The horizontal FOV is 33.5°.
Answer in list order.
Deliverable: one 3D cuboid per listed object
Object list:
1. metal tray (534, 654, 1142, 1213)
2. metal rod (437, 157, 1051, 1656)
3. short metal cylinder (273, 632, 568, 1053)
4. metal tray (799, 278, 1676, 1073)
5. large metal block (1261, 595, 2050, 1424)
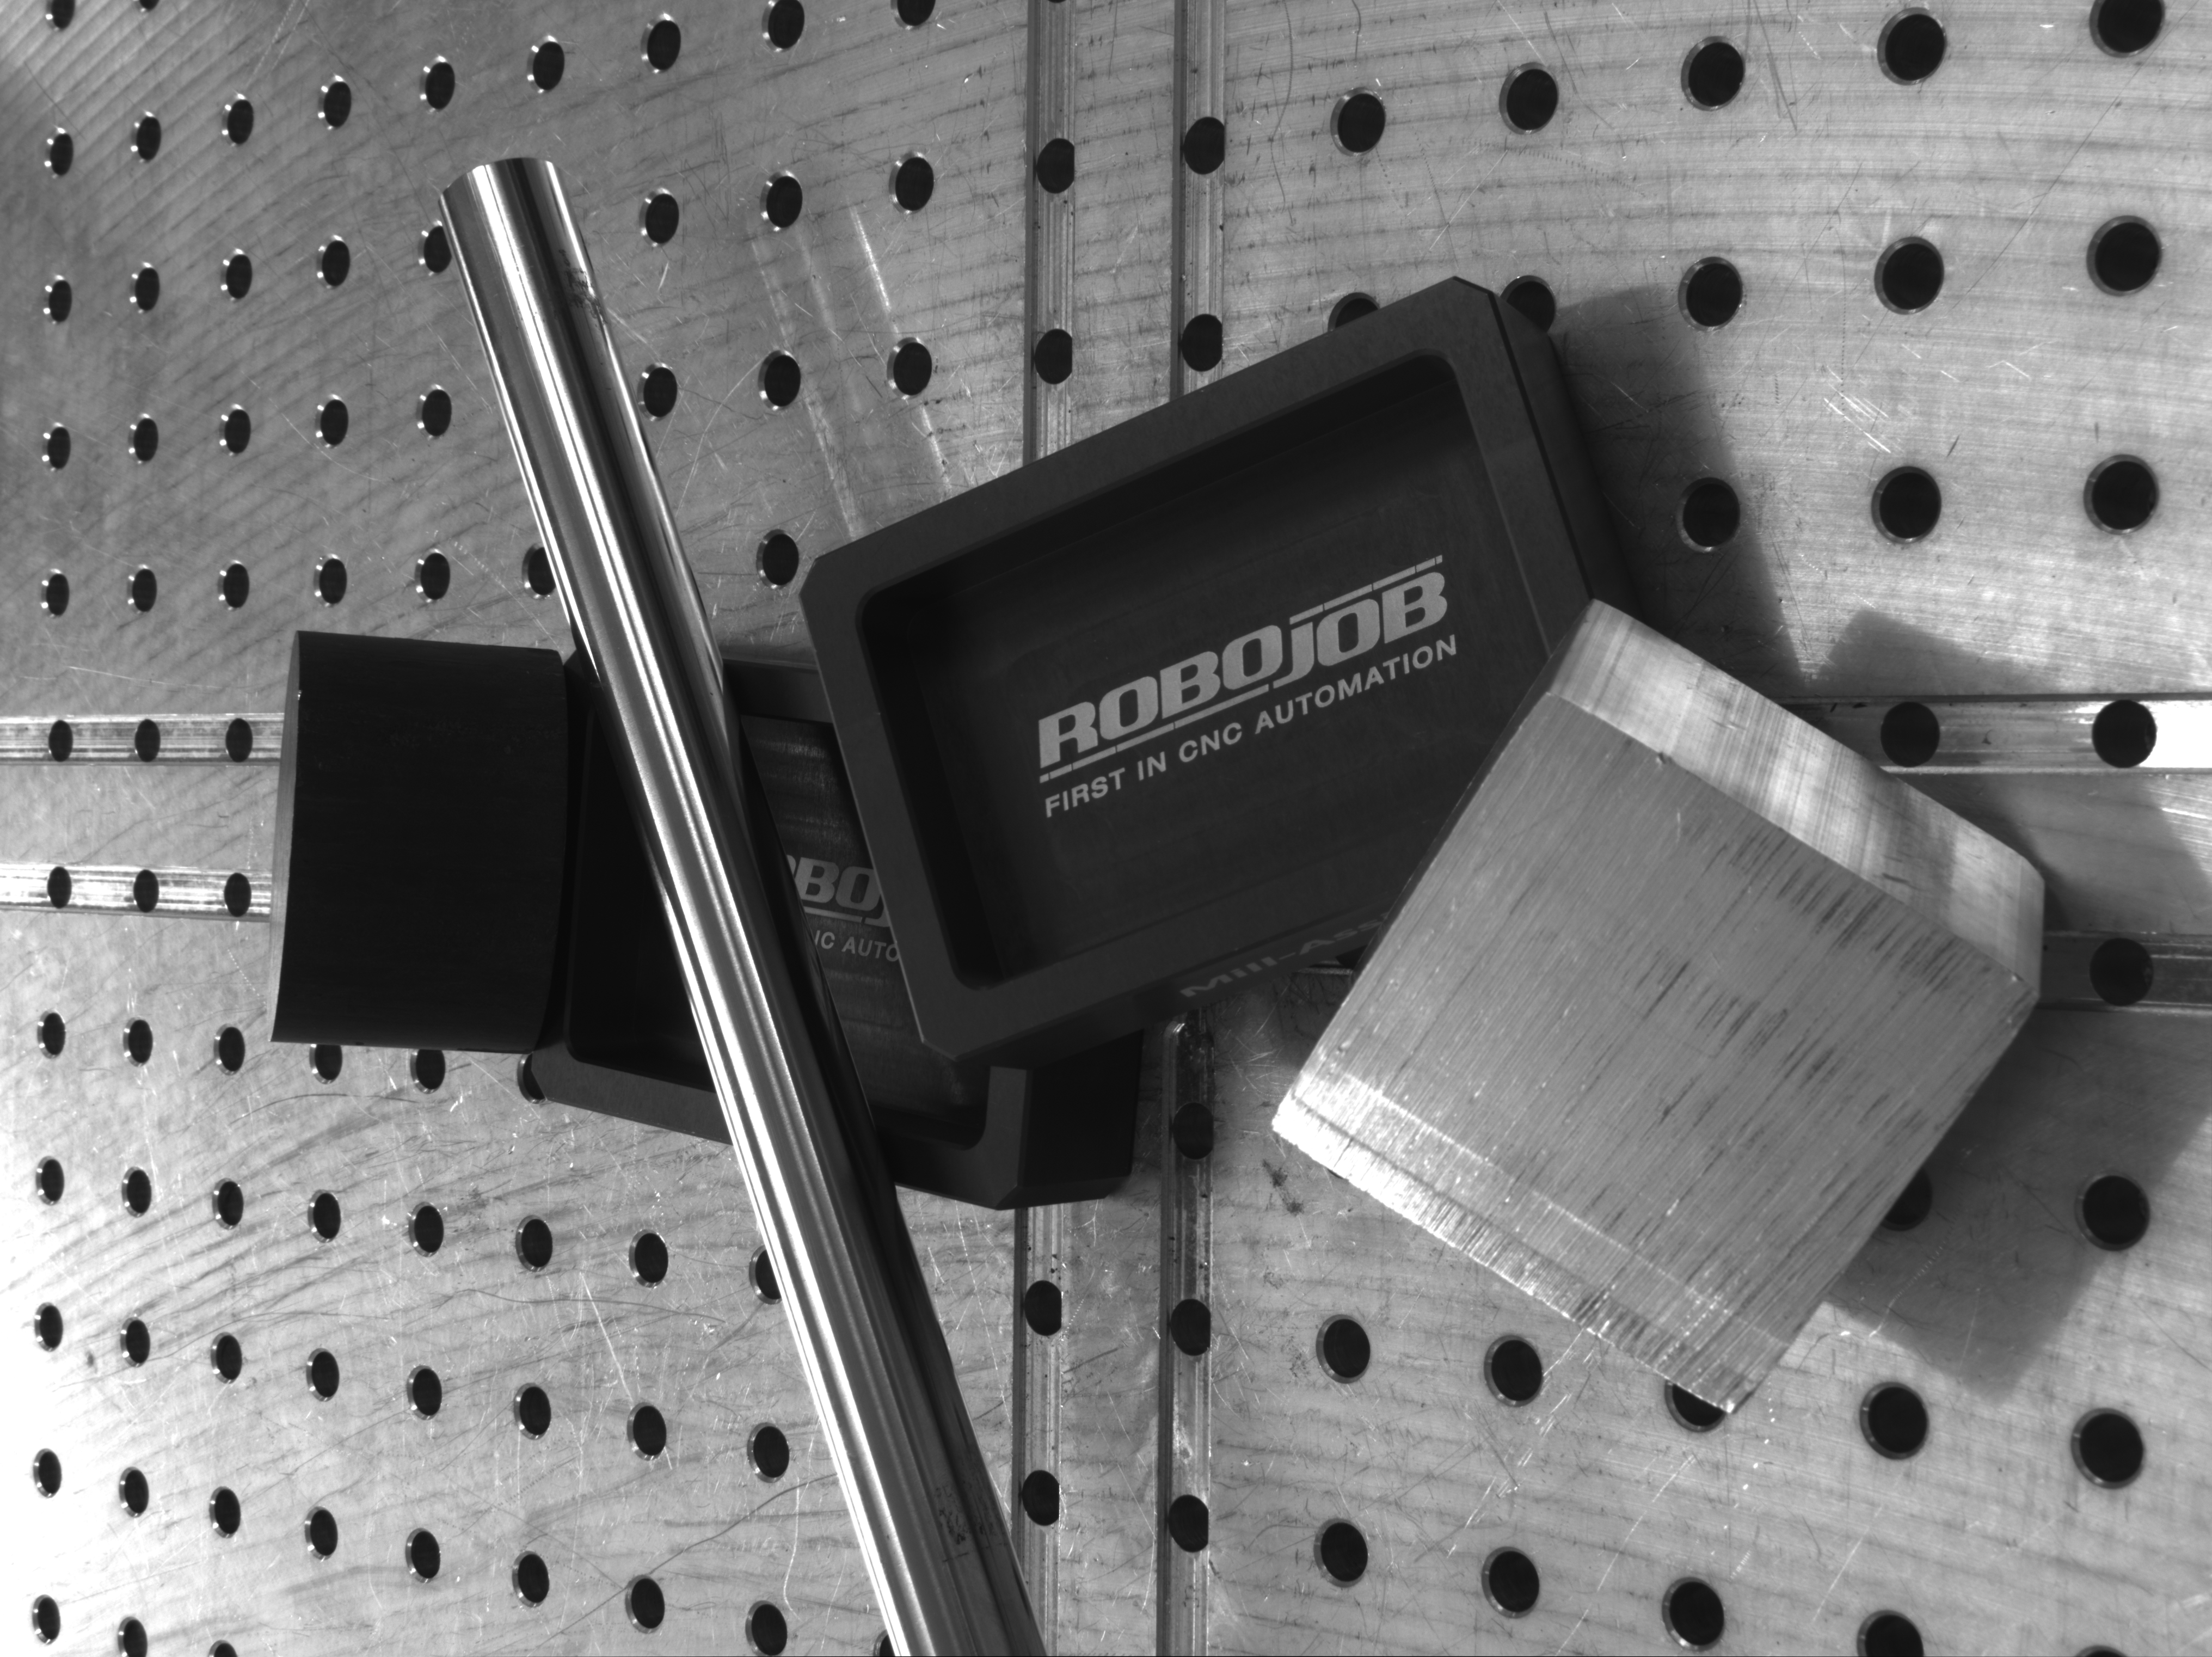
[{"bbox_3d":[-0.050,0.016,0.688,0.130,0.030,0.090,9,96,40],"label":"metal tray"},{"bbox_3d":[-0.068,0.013,0.667,0.025,0.025,0.300,-31,70,36],"label":"metal rod"},{"bbox_3d":[-0.136,0.003,0.724,0.080,0.050,0.080,-176,90,-75],"label":"short metal cylinder"},{"bbox_3d":[0.021,-0.023,0.603,0.130,0.030,0.090,-22,75,21],"label":"metal tray"},{"bbox_3d":[0.081,0.026,0.541,0.080,0.050,0.080,32,114,2],"label":"large metal block"}]
